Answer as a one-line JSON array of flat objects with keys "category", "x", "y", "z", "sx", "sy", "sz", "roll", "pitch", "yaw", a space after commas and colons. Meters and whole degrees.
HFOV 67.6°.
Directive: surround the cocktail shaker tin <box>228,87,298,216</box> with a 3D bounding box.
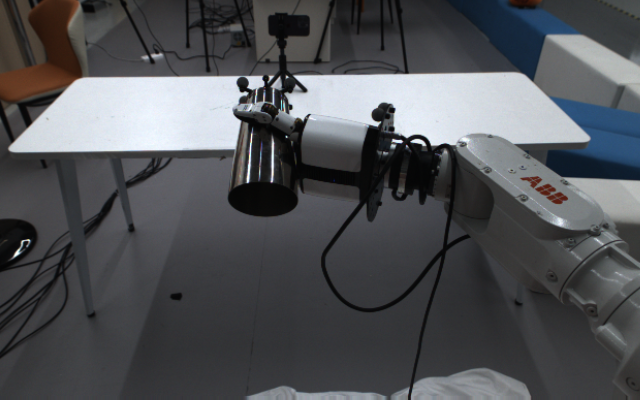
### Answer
[{"category": "cocktail shaker tin", "x": -0.078, "y": -0.073, "z": 0.672, "sx": 0.093, "sy": 0.093, "sz": 0.170, "roll": 0, "pitch": 59, "yaw": -3}]
